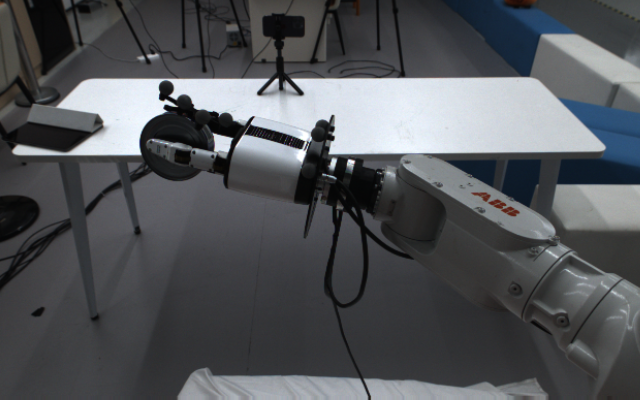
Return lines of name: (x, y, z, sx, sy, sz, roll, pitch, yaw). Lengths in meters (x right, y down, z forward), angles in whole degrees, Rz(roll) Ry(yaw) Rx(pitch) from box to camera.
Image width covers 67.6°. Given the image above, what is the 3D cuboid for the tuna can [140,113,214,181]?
tuna can: (-0.177, -0.068, 0.609, 0.085, 0.085, 0.034, 4, 19, 3)
